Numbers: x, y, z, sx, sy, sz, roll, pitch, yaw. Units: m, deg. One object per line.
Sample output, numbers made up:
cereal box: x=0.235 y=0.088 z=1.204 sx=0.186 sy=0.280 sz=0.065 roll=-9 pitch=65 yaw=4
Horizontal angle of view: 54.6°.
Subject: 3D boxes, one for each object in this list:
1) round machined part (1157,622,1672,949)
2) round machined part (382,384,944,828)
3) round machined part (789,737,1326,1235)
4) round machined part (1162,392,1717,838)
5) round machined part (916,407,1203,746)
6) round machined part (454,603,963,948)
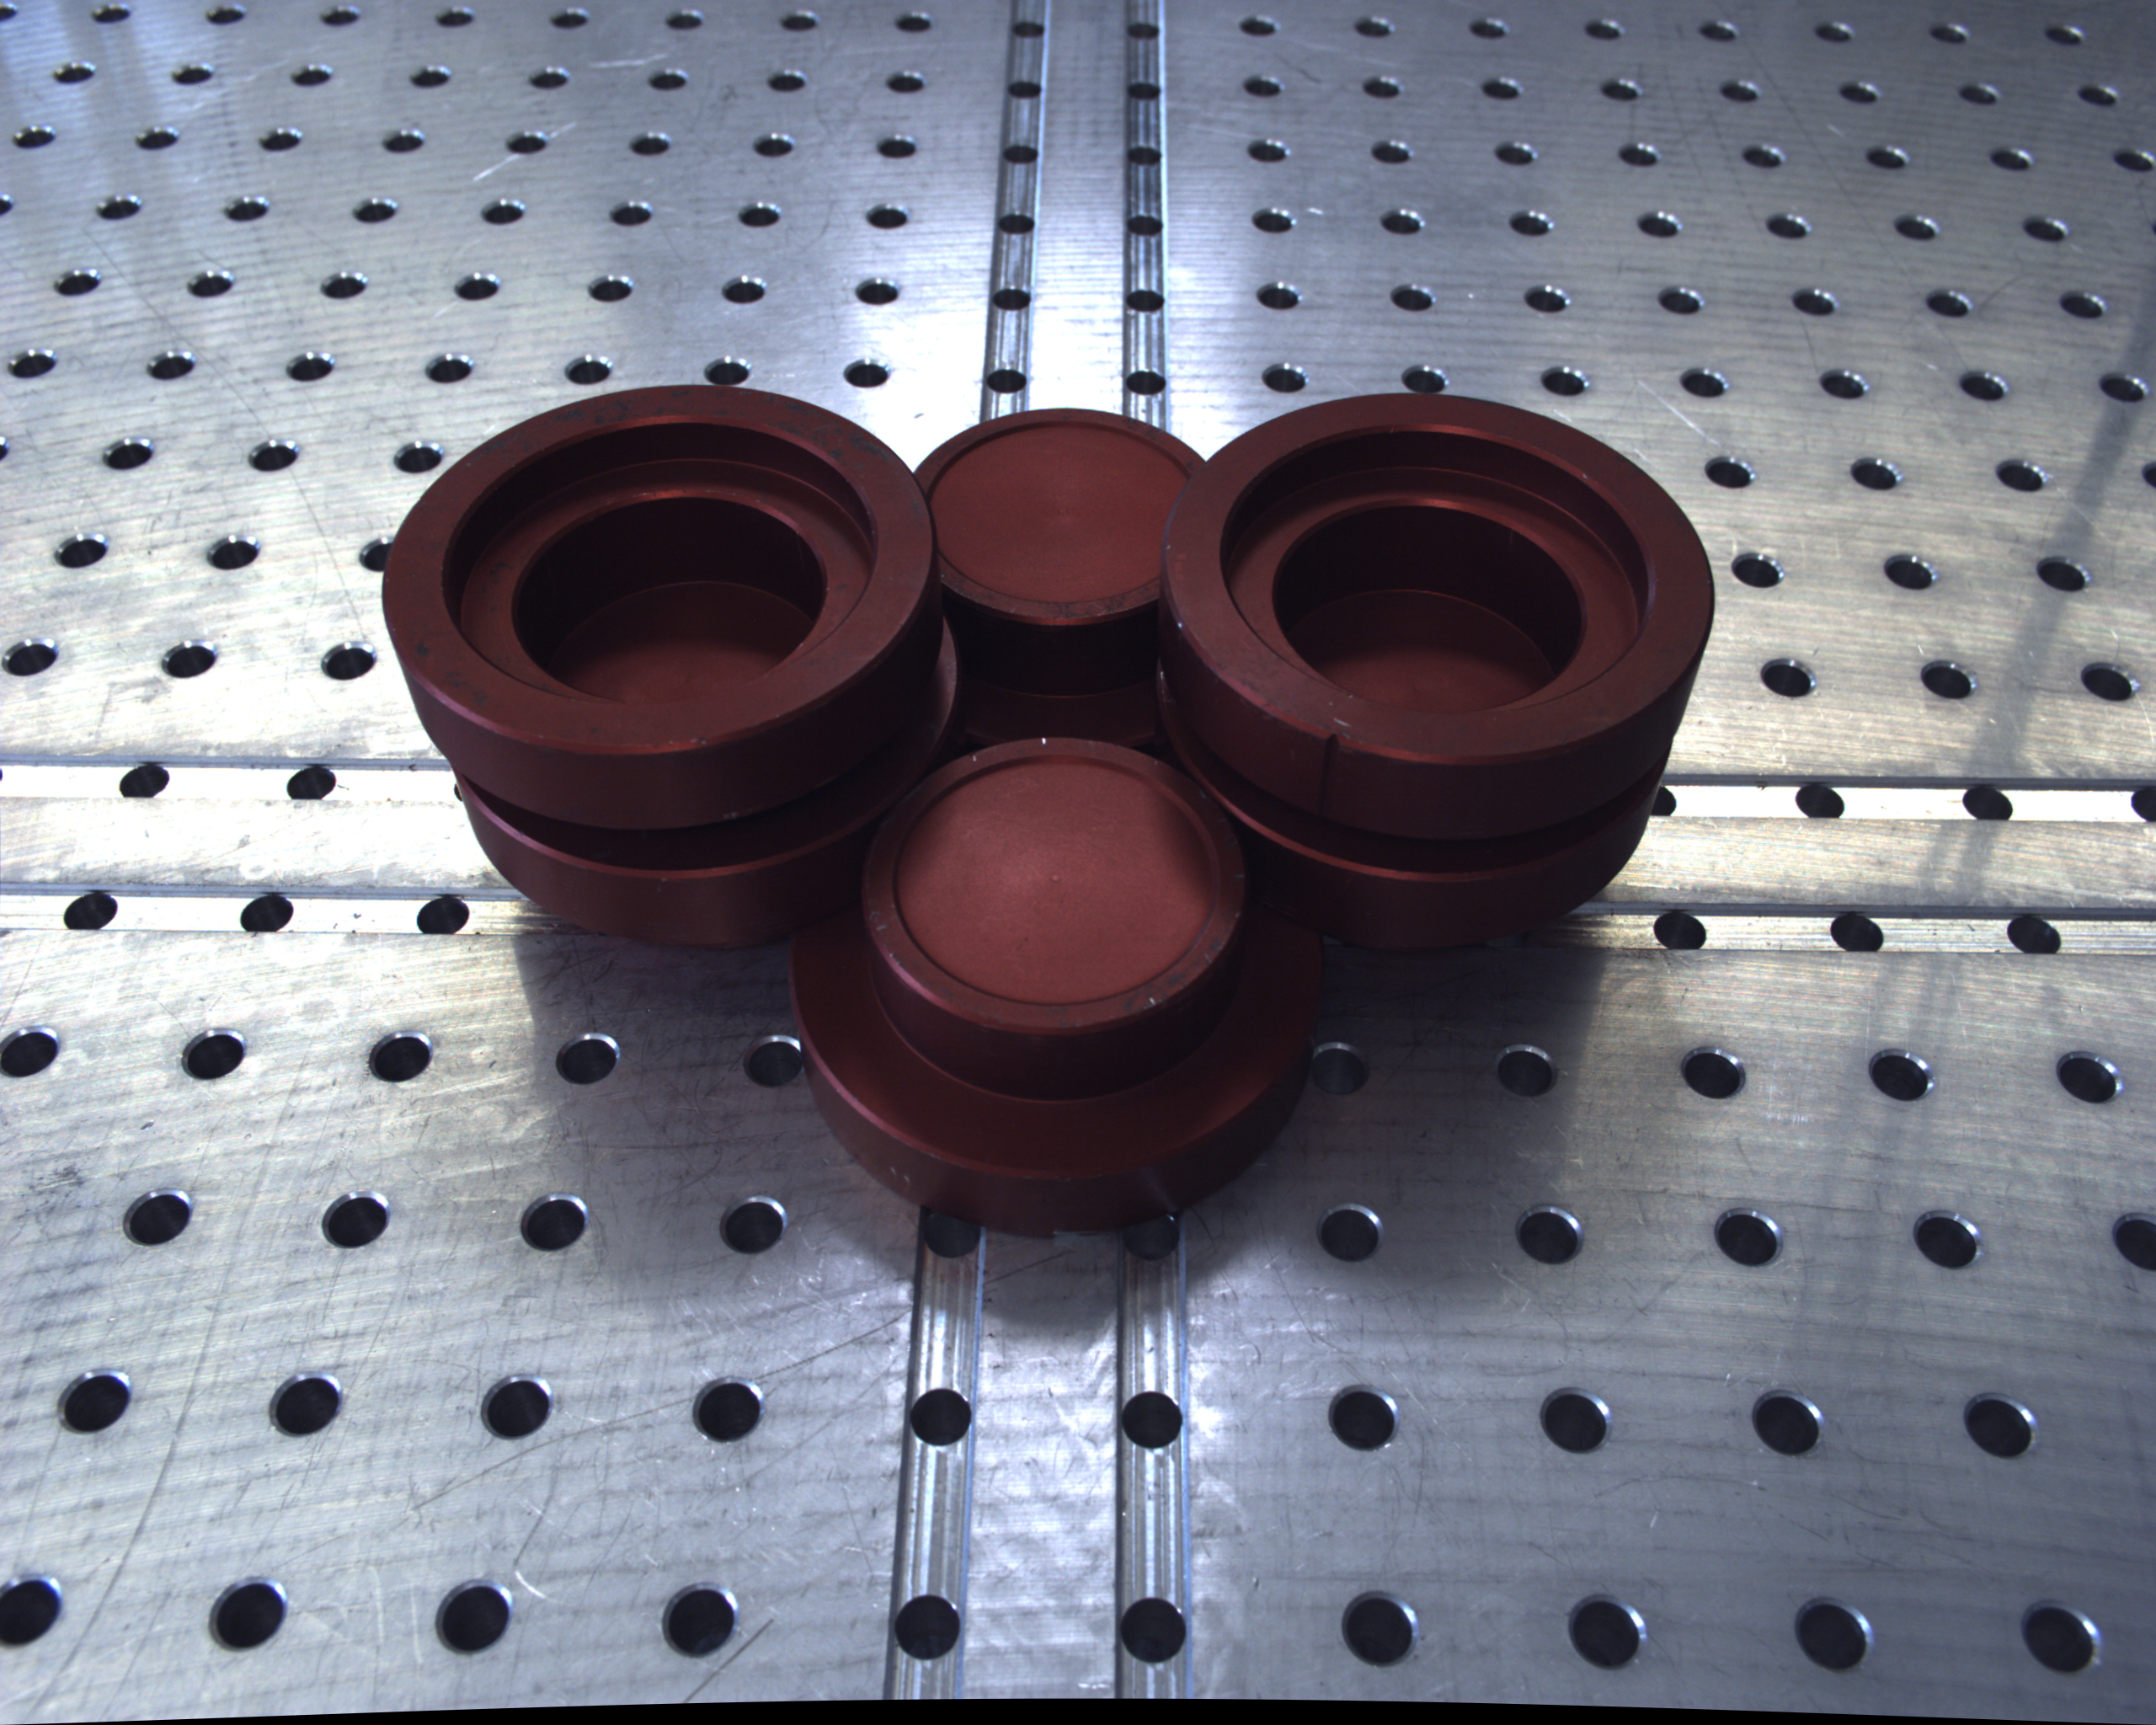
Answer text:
round machined part: x=0.065 y=-0.022 z=0.414 sx=0.099 sy=0.042 sz=0.098 roll=0 pitch=50 yaw=0
round machined part: x=-0.074 y=-0.043 z=0.390 sx=0.099 sy=0.042 sz=0.098 roll=0 pitch=50 yaw=0
round machined part: x=-0.004 y=0.015 z=0.383 sx=0.099 sy=0.042 sz=0.098 roll=0 pitch=50 yaw=0
round machined part: x=0.064 y=-0.041 z=0.389 sx=0.099 sy=0.042 sz=0.098 roll=0 pitch=50 yaw=0
round machined part: x=-0.003 y=-0.060 z=0.447 sx=0.099 sy=0.042 sz=0.098 roll=0 pitch=50 yaw=0
round machined part: x=-0.072 y=-0.022 z=0.414 sx=0.099 sy=0.042 sz=0.098 roll=0 pitch=50 yaw=0
